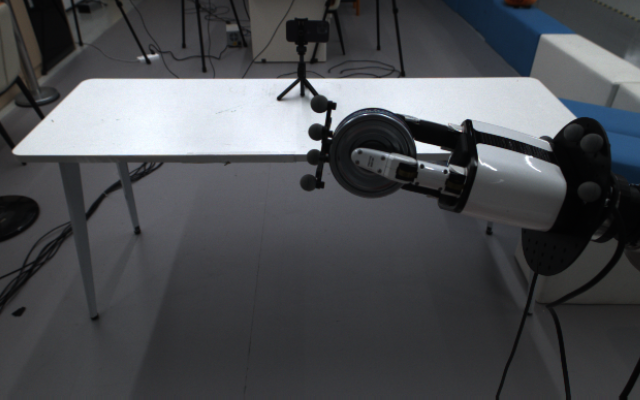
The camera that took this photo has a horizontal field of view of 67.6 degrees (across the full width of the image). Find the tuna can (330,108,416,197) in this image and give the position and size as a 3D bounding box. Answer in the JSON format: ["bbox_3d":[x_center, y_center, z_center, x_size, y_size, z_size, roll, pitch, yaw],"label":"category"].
[{"bbox_3d":[0.056,-0.043,0.477,0.085,0.085,0.034,4,17,3],"label":"tuna can"}]
